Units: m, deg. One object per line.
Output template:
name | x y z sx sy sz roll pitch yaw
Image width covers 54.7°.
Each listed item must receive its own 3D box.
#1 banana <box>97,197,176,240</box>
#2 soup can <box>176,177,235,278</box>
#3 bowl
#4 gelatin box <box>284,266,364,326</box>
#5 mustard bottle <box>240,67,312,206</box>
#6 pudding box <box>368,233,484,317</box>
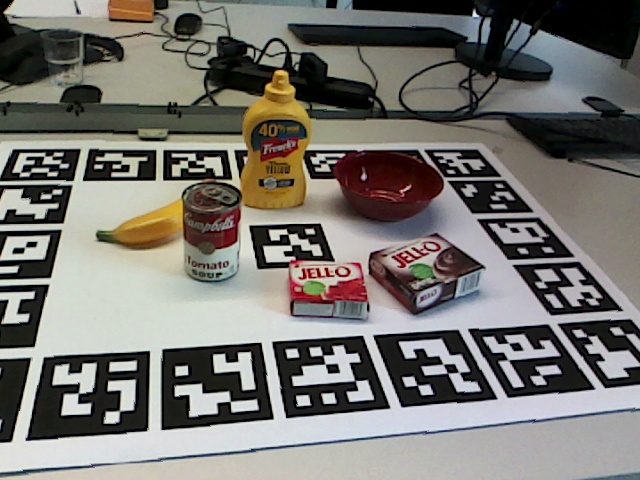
banana | -0.204 -0.043 0.841 0.075 0.039 0.196 14 33 29
soup can | -0.138 -0.015 0.736 0.068 0.102 0.068 6 31 -4
bowl | 0.102 -0.069 0.922 0.161 0.055 0.162 3 33 -2
gelatin box | 0.003 0.064 0.722 0.089 0.030 0.073 2 37 -6
mustard bottle | -0.060 -0.142 0.856 0.096 0.191 0.059 -1 31 -12
pudding box | 0.131 0.041 0.770 0.113 0.038 0.090 -17 46 -31
